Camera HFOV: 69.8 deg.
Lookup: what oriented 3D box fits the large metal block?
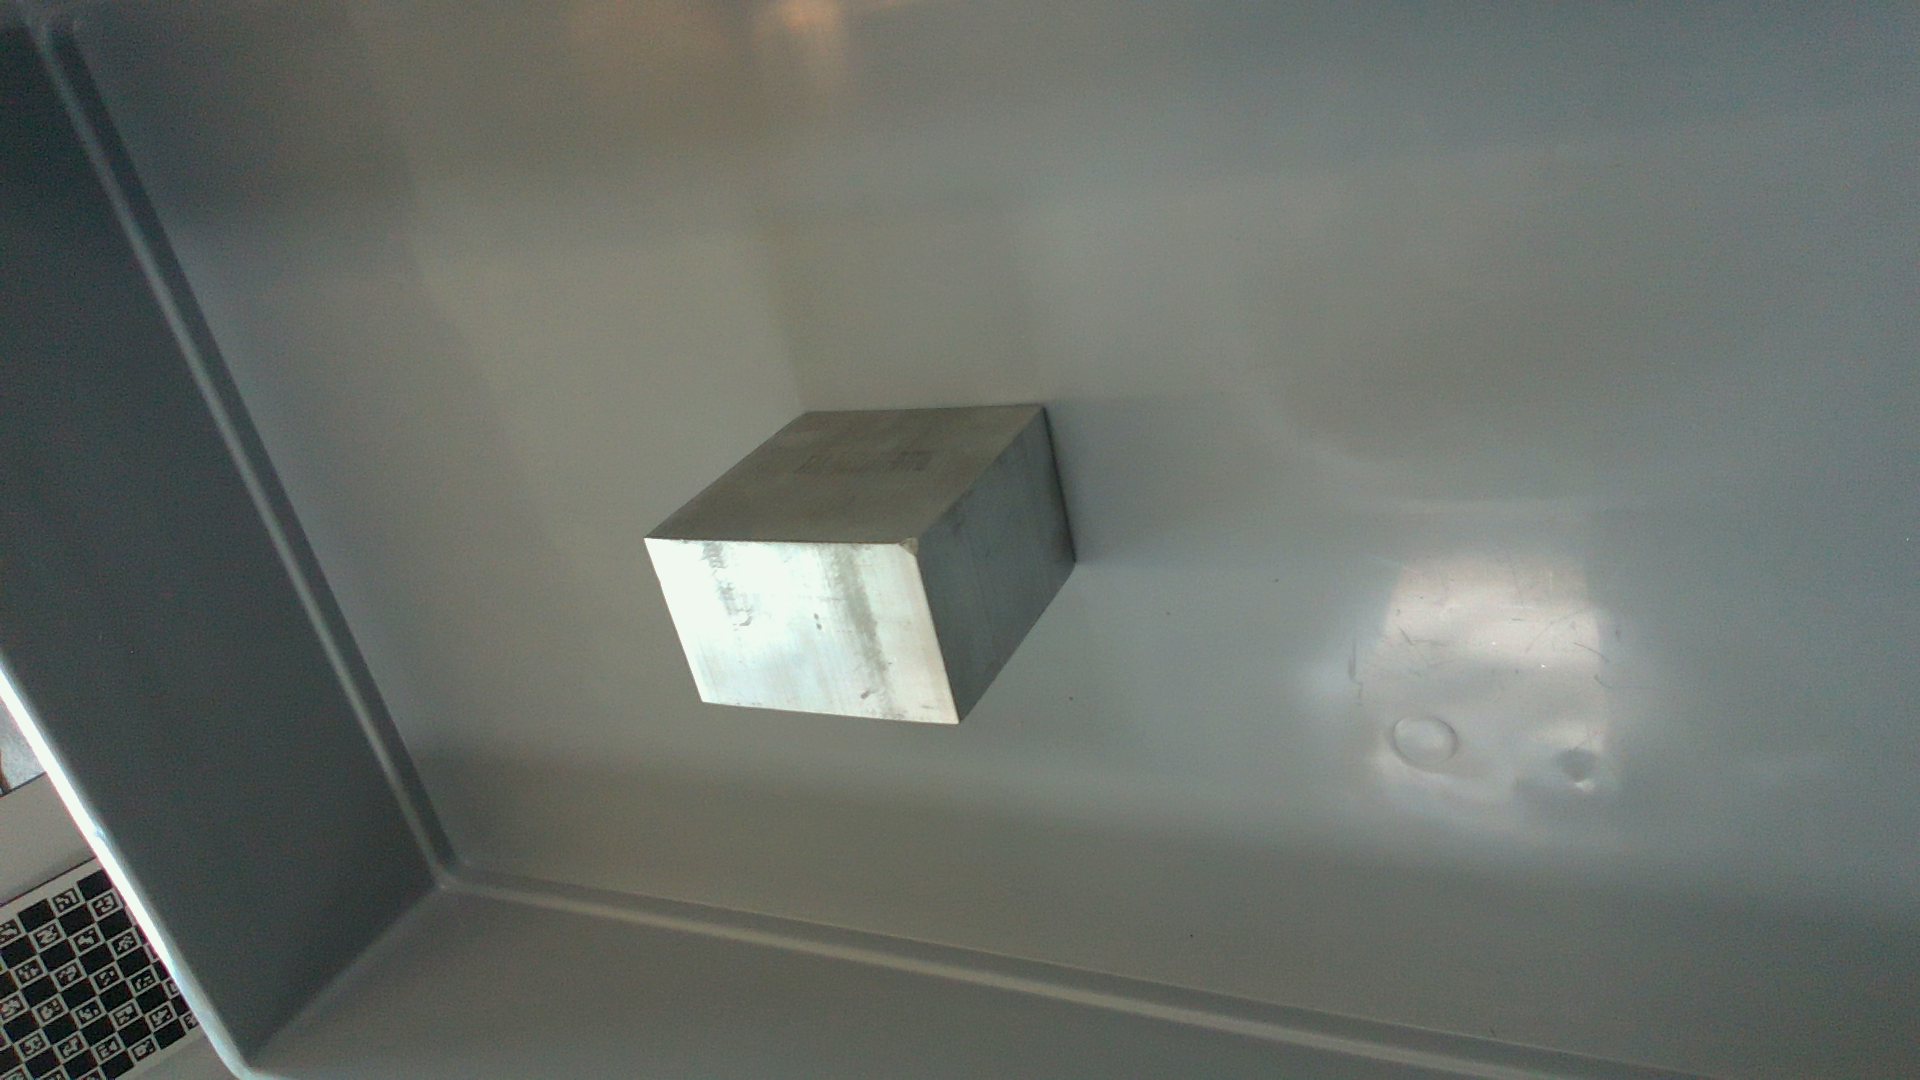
[{"bbox_3d":[-0.024,0.003,0.370,0.080,0.080,0.050,1,119,28],"label":"large metal block"}]
